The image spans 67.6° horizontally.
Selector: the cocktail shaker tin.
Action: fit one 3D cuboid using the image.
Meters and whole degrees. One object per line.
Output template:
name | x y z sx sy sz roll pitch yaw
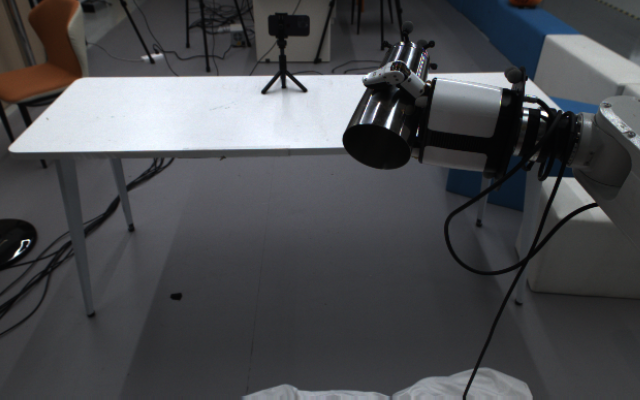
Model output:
cocktail shaker tin | 0.100 -0.137 0.664 0.093 0.093 0.170 14 61 17
